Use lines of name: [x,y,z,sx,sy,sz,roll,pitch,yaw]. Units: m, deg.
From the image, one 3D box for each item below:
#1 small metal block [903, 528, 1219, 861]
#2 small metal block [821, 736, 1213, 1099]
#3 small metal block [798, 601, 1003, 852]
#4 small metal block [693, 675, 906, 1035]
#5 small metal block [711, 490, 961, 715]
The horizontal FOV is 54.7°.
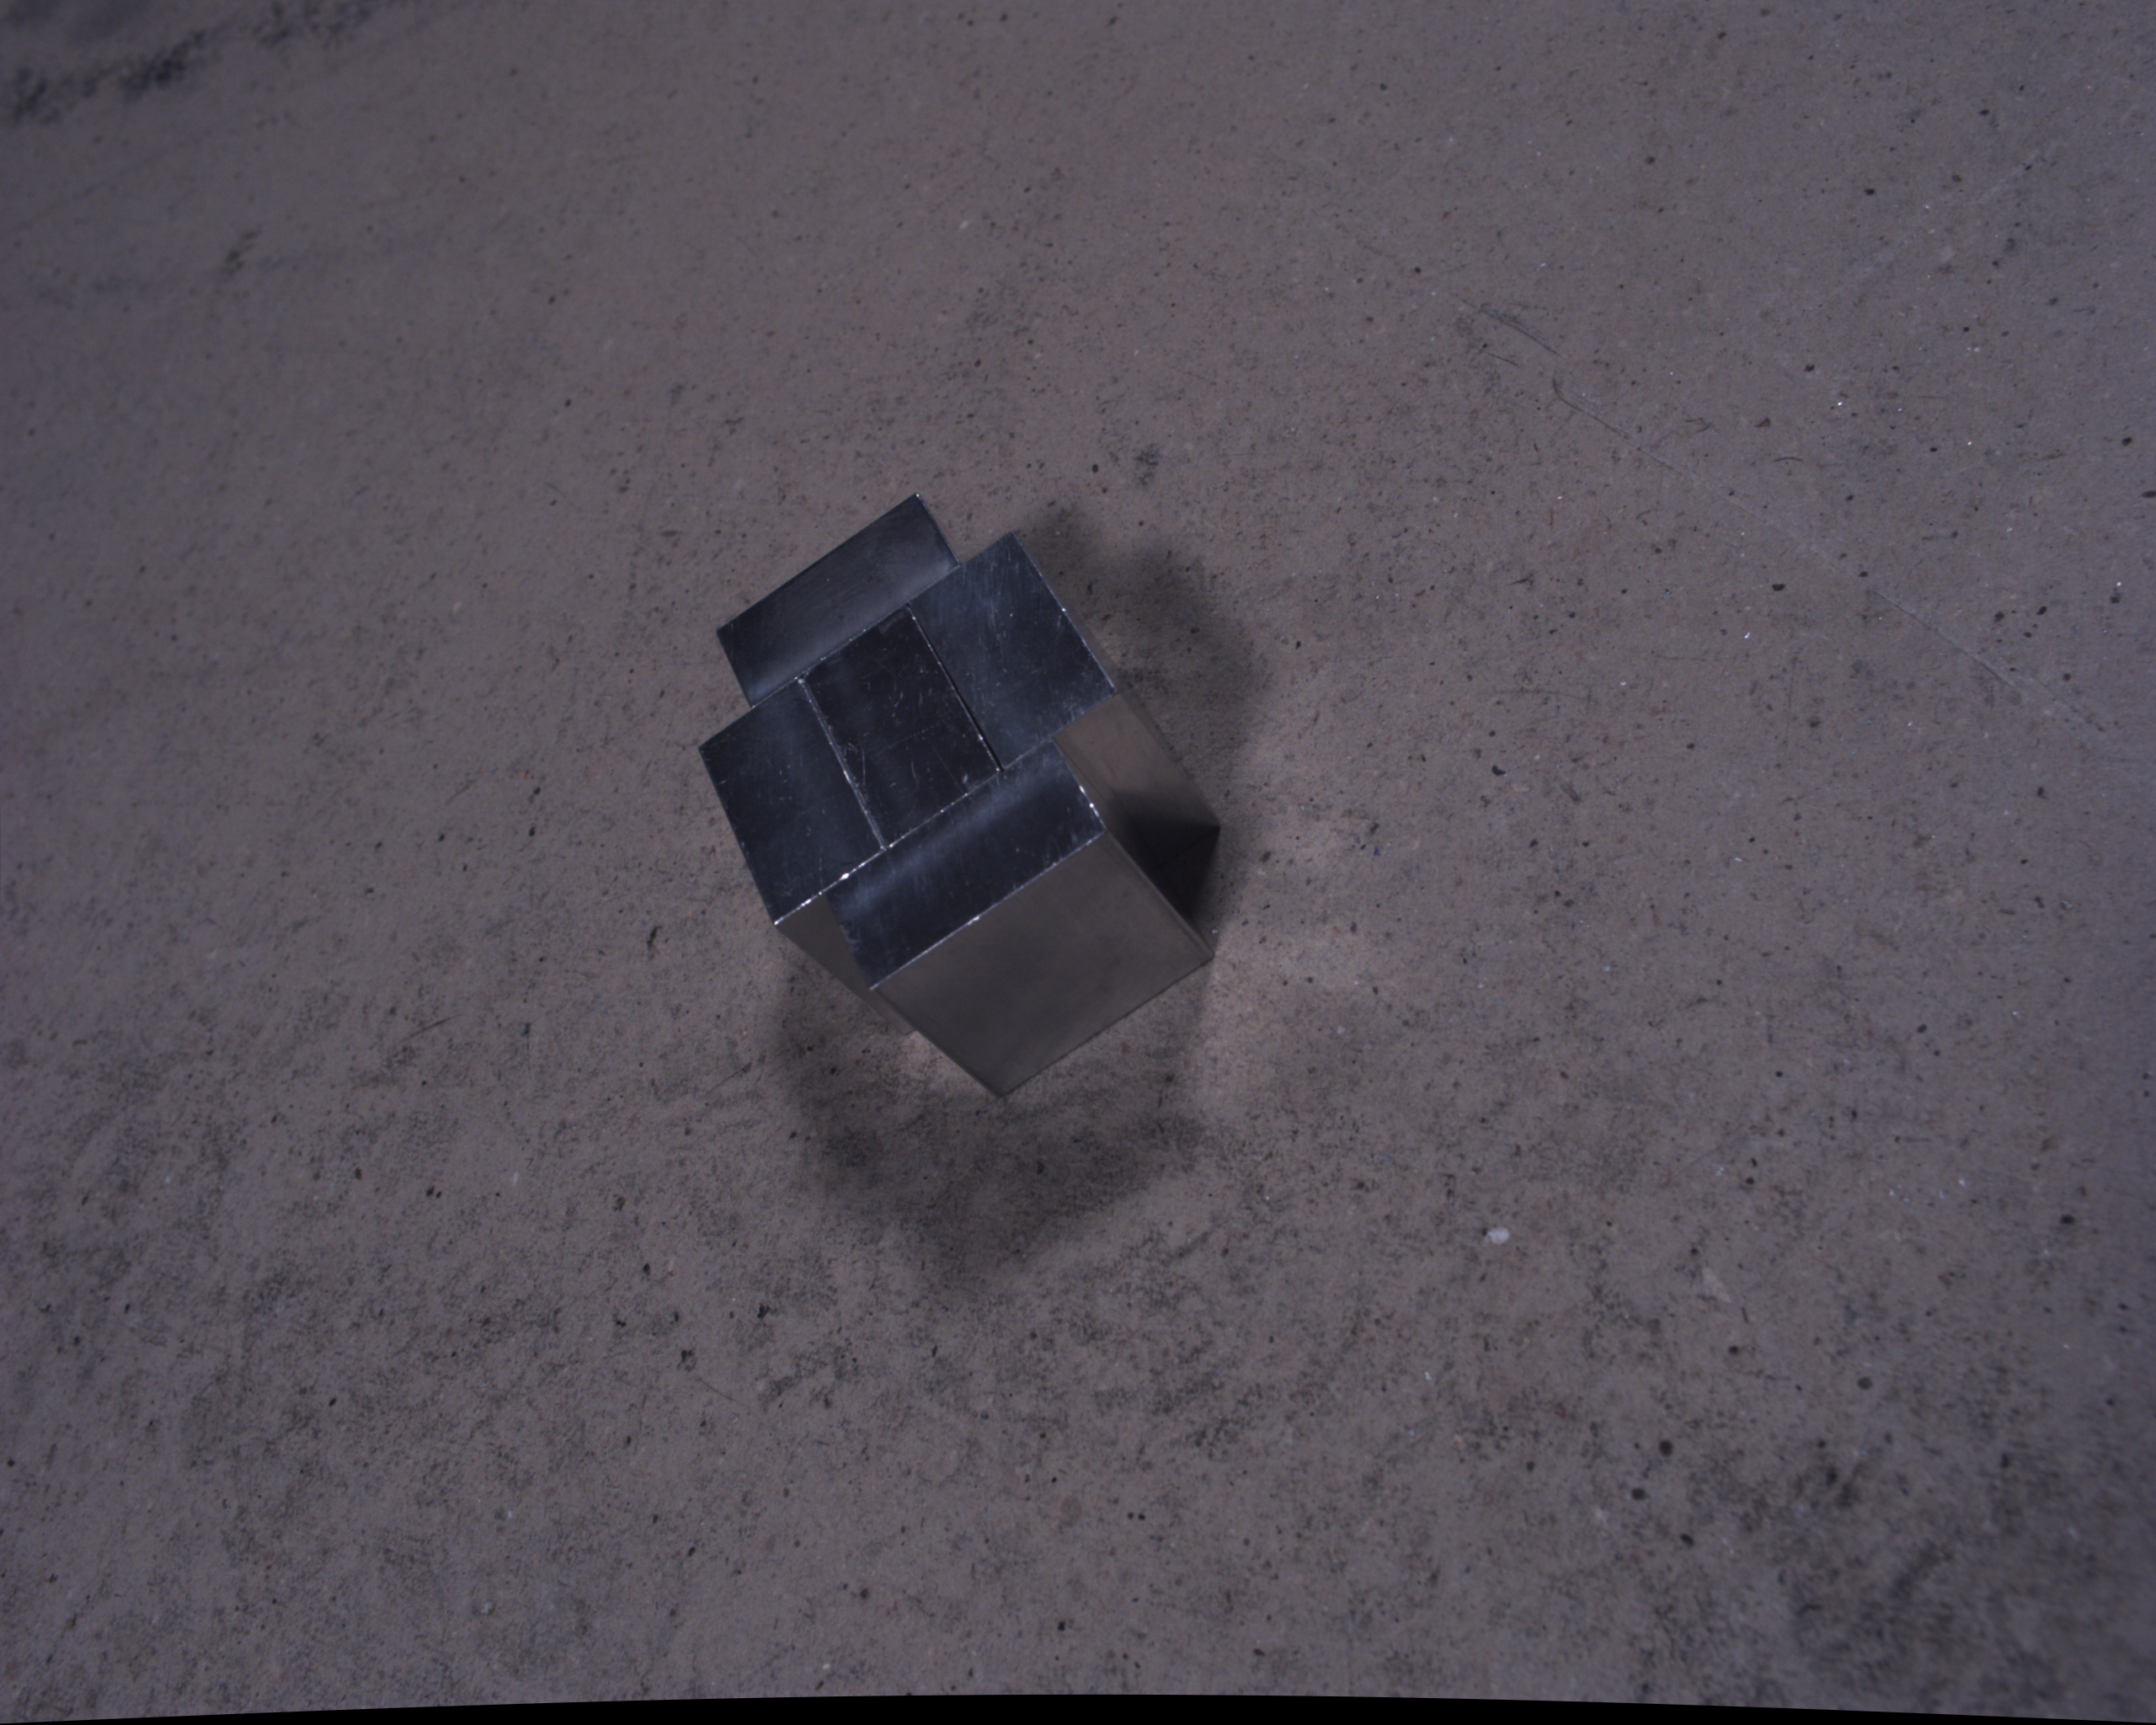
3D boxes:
small metal block: [-0.003,-0.029,0.407,0.025,0.050,0.050,-35,52,5]
small metal block: [-0.010,0.011,0.386,0.050,0.050,0.025,-34,52,6]
small metal block: [-0.024,-0.015,0.409,0.025,0.050,0.050,-35,52,5]
small metal block: [-0.045,-0.001,0.411,0.025,0.050,0.050,-35,52,5]
small metal block: [-0.038,-0.041,0.432,0.050,0.050,0.025,-34,52,6]
